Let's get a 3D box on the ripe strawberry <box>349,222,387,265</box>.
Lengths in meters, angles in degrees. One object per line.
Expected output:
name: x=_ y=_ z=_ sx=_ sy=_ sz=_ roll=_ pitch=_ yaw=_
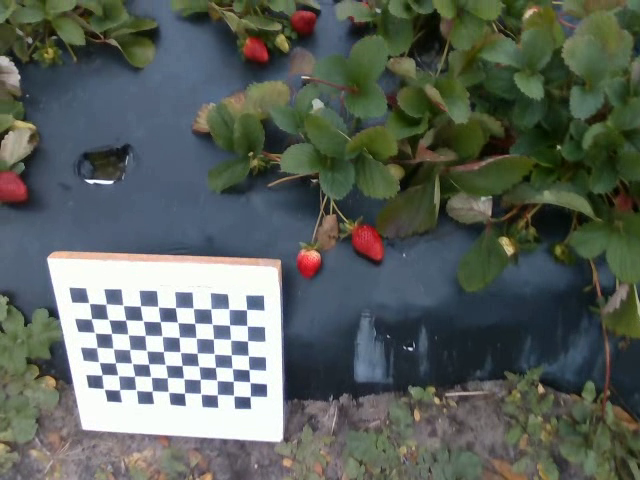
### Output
ripe strawberry: x=0.059 y=0.005 z=0.809 sx=0.044 sy=0.059 sz=0.041 roll=-42 pitch=-9 yaw=32

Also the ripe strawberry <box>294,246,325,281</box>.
ripe strawberry: x=-0.017 y=0.031 z=0.816 sx=0.036 sy=0.041 sz=0.027 roll=5 pitch=7 yaw=14

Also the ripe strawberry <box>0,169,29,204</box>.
ripe strawberry: x=-0.419 y=-0.065 z=0.876 sx=0.064 sy=0.046 sz=0.048 roll=26 pitch=37 yaw=31
